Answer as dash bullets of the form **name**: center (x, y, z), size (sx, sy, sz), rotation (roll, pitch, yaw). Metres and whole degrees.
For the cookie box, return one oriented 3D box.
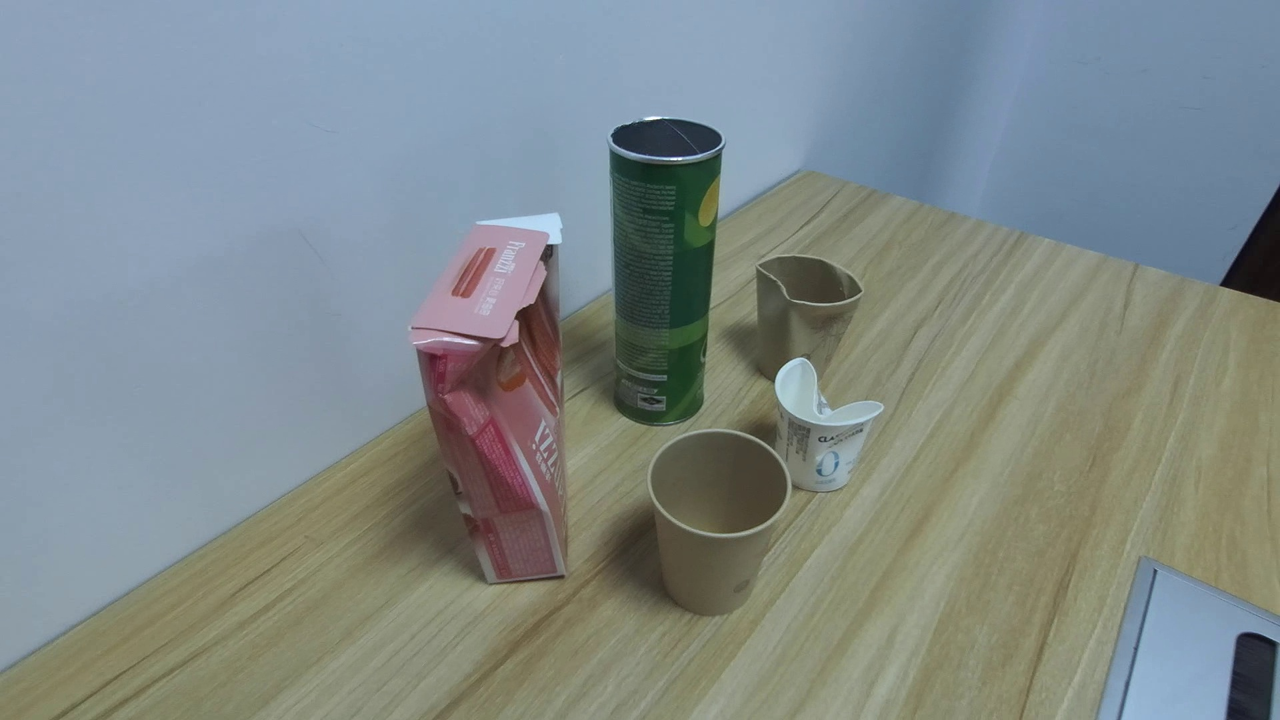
- **cookie box**: center (-0.068, 0.030, 0.385), size (0.055, 0.184, 0.118), rotation (2, 38, 1)

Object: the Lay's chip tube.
- **Lay's chip tube**: center (0.015, -0.053, 0.472), size (0.071, 0.203, 0.071), rotation (1, 38, 0)

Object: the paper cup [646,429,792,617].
- **paper cup**: center (0.041, 0.094, 0.389), size (0.075, 0.082, 0.075), rotation (2, 38, -1)

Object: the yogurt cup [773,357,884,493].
- **yogurt cup**: center (0.115, 0.046, 0.458), size (0.067, 0.070, 0.067), rotation (2, 40, -1)

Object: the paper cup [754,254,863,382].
- **paper cup**: center (0.123, -0.028, 0.542), size (0.066, 0.084, 0.071), rotation (-10, 38, -17)
